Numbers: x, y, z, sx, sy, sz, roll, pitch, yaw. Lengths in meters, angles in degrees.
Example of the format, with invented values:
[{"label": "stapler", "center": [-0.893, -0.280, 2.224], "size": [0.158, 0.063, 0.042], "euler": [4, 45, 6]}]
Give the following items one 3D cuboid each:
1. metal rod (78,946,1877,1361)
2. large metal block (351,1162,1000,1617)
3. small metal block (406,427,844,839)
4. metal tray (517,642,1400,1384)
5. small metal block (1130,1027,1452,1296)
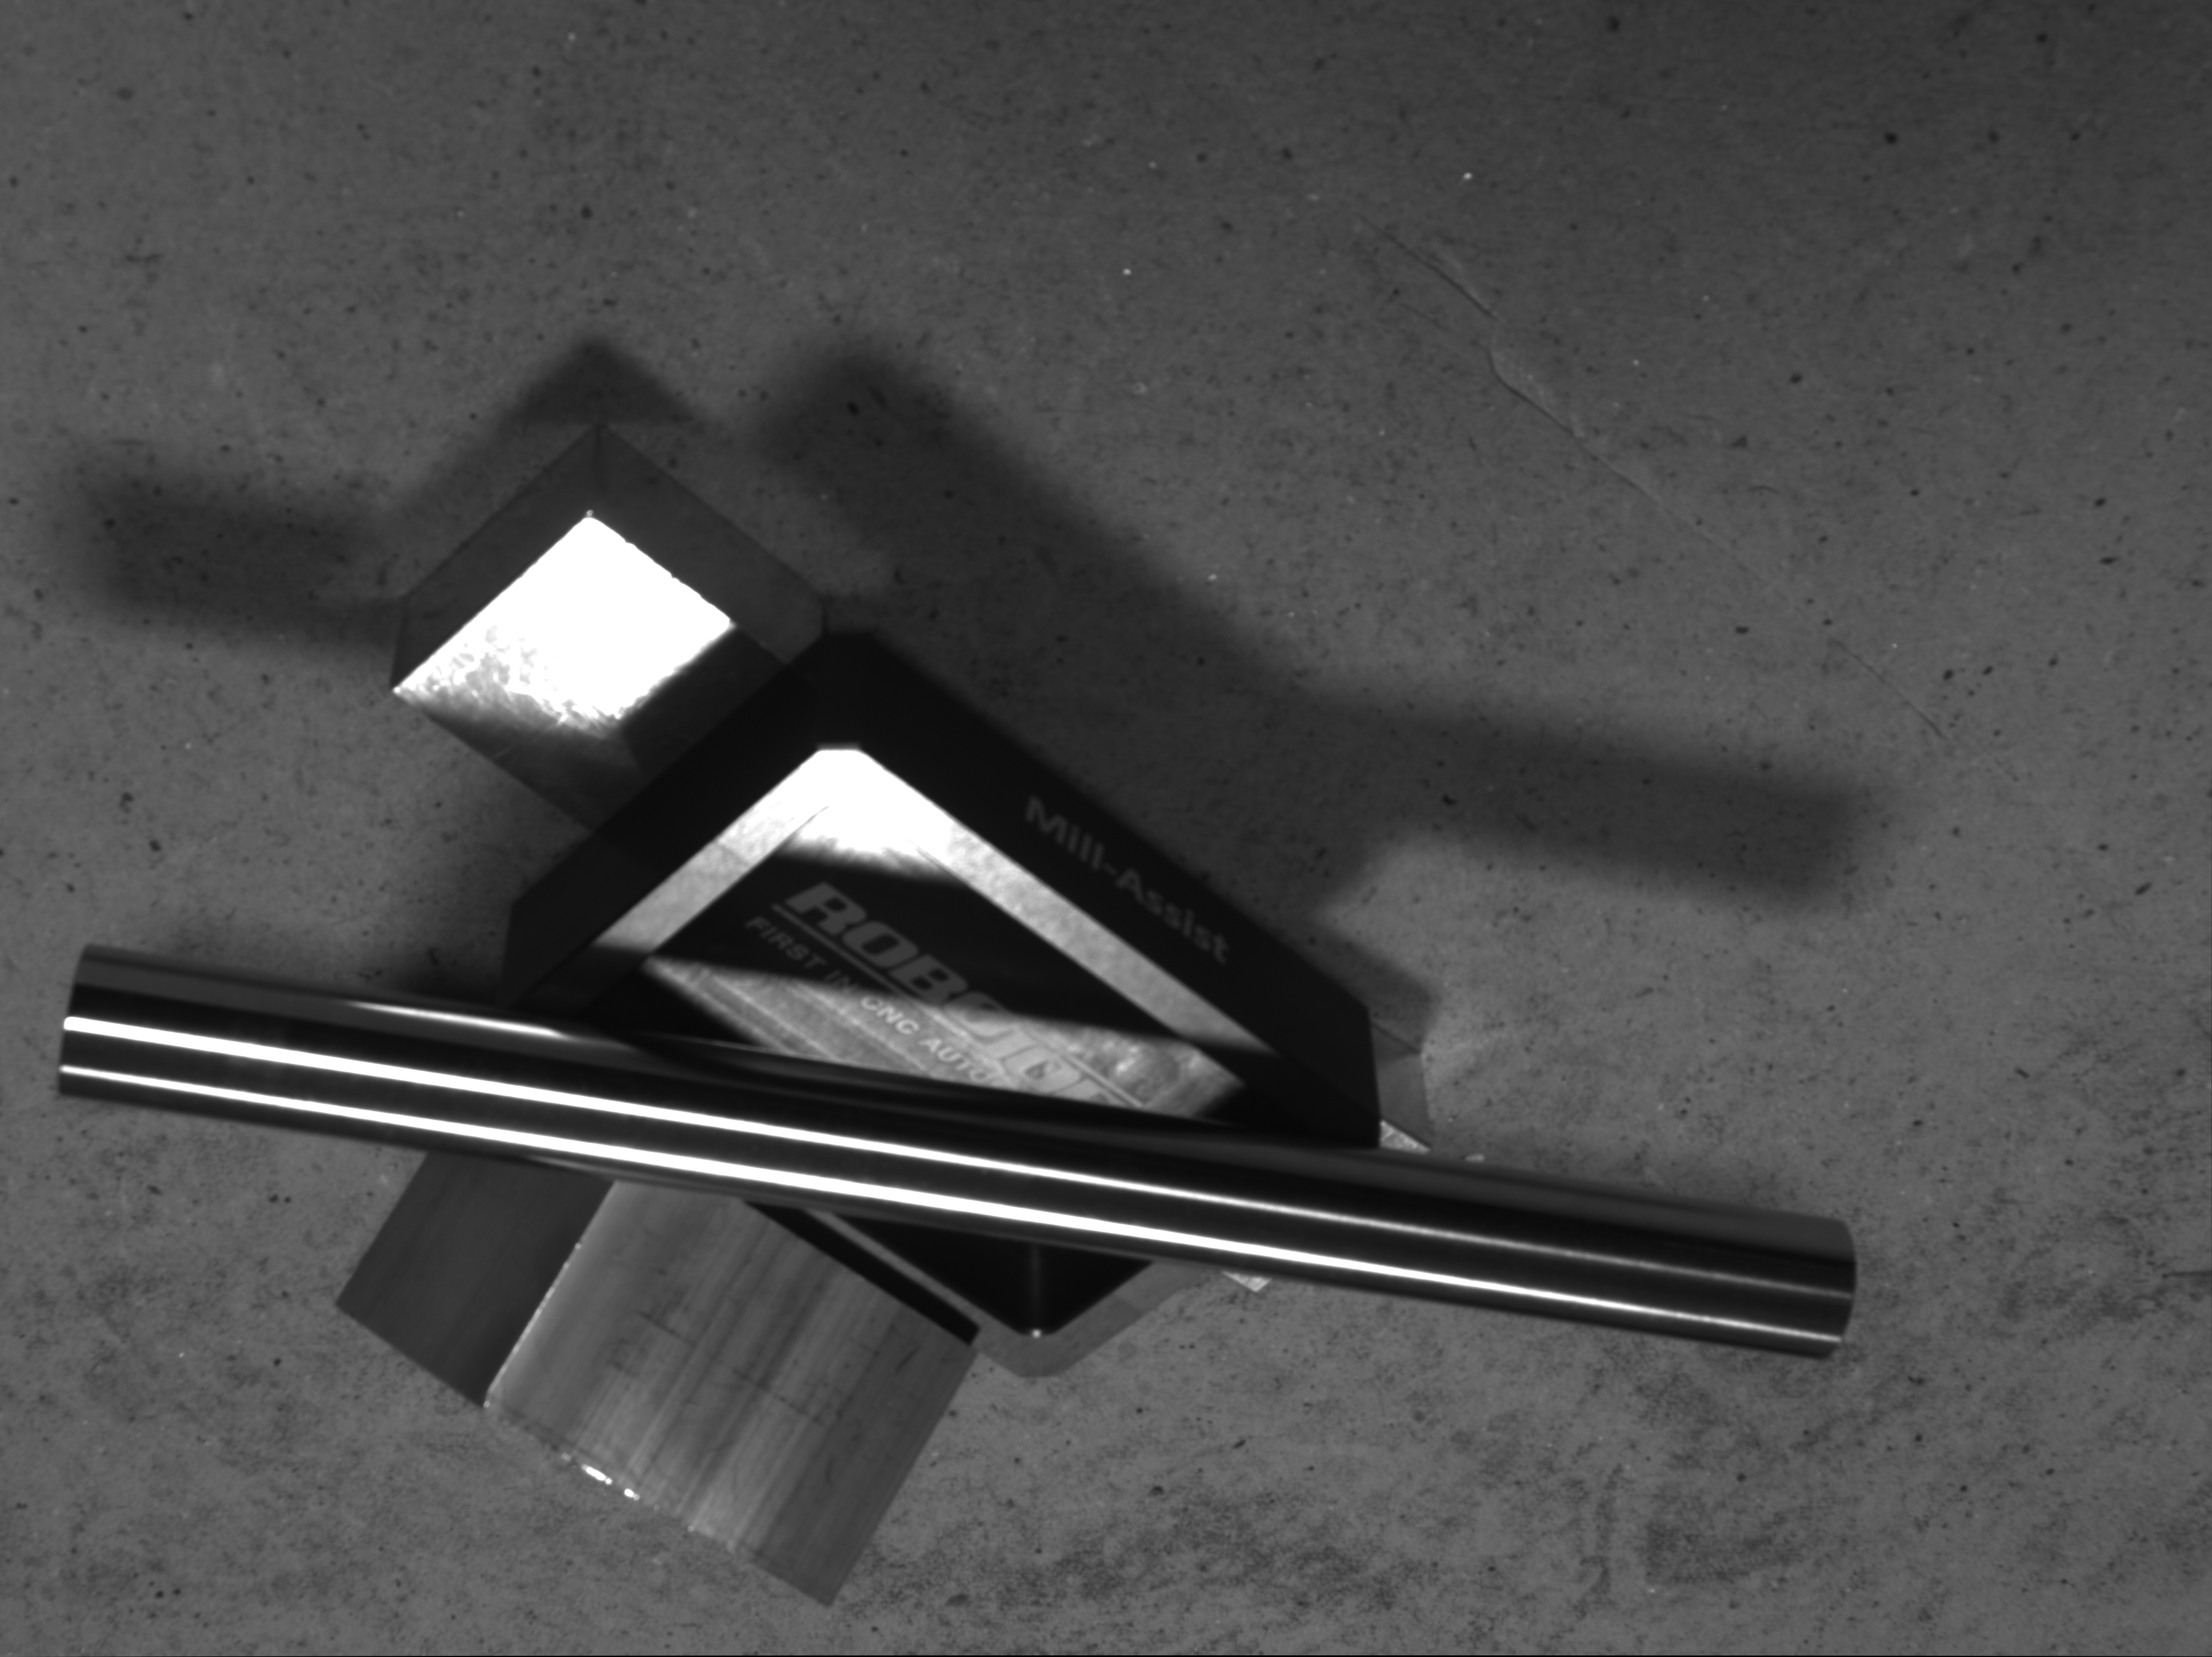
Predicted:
[{"label": "metal rod", "center": [-0.017, 0.056, 0.613], "size": [0.300, 0.025, 0.025], "euler": [10, 129, -10]}, {"label": "large metal block", "center": [-0.079, 0.093, 0.667], "size": [0.080, 0.080, 0.050], "euler": [36, 79, -27]}, {"label": "small metal block", "center": [-0.080, -0.030, 0.610], "size": [0.050, 0.025, 0.050], "euler": [-37, 122, 26]}, {"label": "metal tray", "center": [-0.024, 0.036, 0.630], "size": [0.130, 0.030, 0.090], "euler": [37, 120, -28]}, {"label": "small metal block", "center": [0.028, 0.054, 0.684], "size": [0.050, 0.025, 0.050], "euler": [32, 122, -25]}]
